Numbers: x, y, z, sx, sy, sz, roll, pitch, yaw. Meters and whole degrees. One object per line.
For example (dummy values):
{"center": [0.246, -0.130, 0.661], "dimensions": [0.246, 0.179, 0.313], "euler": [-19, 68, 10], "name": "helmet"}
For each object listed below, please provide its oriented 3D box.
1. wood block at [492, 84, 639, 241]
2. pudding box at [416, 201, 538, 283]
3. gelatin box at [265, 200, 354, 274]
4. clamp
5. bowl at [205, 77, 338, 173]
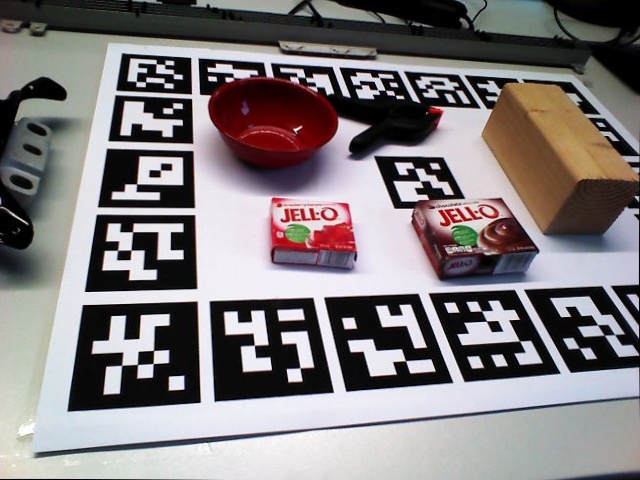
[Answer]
{"center": [0.313, -0.105, 0.665], "dimensions": [0.090, 0.091, 0.205], "euler": [2, 48, -12], "name": "wood block"}
{"center": [0.173, 0.001, 0.575], "dimensions": [0.114, 0.039, 0.089], "euler": [-3, 53, -11], "name": "pudding box"}
{"center": [-0.011, -0.005, 0.544], "dimensions": [0.089, 0.030, 0.073], "euler": [5, 49, -7], "name": "gelatin box"}
{"center": [0.087, -0.161, 0.716], "dimensions": [0.164, 0.037, 0.121], "euler": [-8, 50, -21], "name": "clamp"}
{"center": [-0.062, -0.135, 0.645], "dimensions": [0.162, 0.055, 0.160], "euler": [7, 50, -8], "name": "bowl"}
